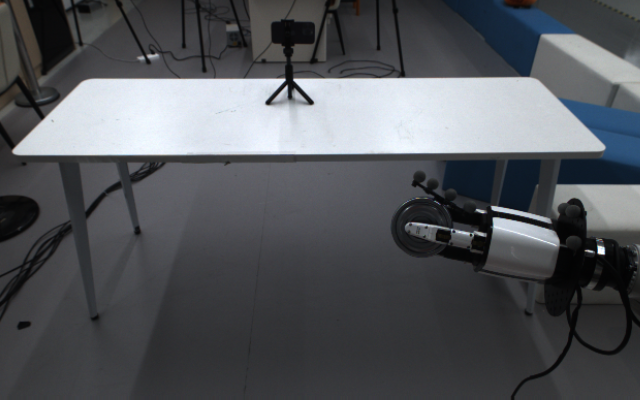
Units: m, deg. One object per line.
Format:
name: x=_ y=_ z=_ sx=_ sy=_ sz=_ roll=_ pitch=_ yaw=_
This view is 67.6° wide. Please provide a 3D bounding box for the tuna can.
tuna can: x=0.146 y=0.036 z=0.682 sx=0.085 sy=0.085 sz=0.034 roll=12 pitch=4 yaw=15
